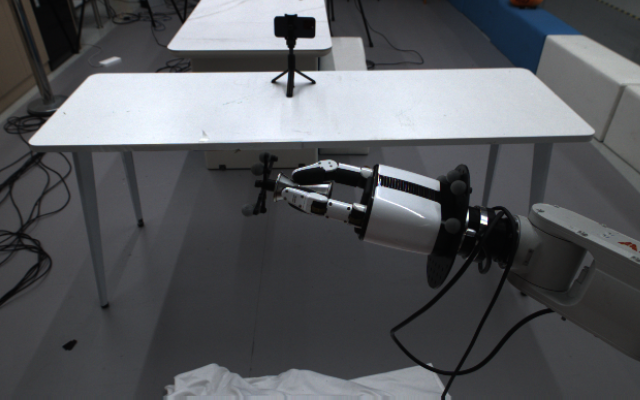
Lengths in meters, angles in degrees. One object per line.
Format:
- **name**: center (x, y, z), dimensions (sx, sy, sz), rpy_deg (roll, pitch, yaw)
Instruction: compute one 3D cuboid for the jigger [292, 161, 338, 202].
- **jigger**: center (-0.014, -0.012, 0.614), dimensions (0.071, 0.043, 0.043), rpy_deg (12, 36, 5)
